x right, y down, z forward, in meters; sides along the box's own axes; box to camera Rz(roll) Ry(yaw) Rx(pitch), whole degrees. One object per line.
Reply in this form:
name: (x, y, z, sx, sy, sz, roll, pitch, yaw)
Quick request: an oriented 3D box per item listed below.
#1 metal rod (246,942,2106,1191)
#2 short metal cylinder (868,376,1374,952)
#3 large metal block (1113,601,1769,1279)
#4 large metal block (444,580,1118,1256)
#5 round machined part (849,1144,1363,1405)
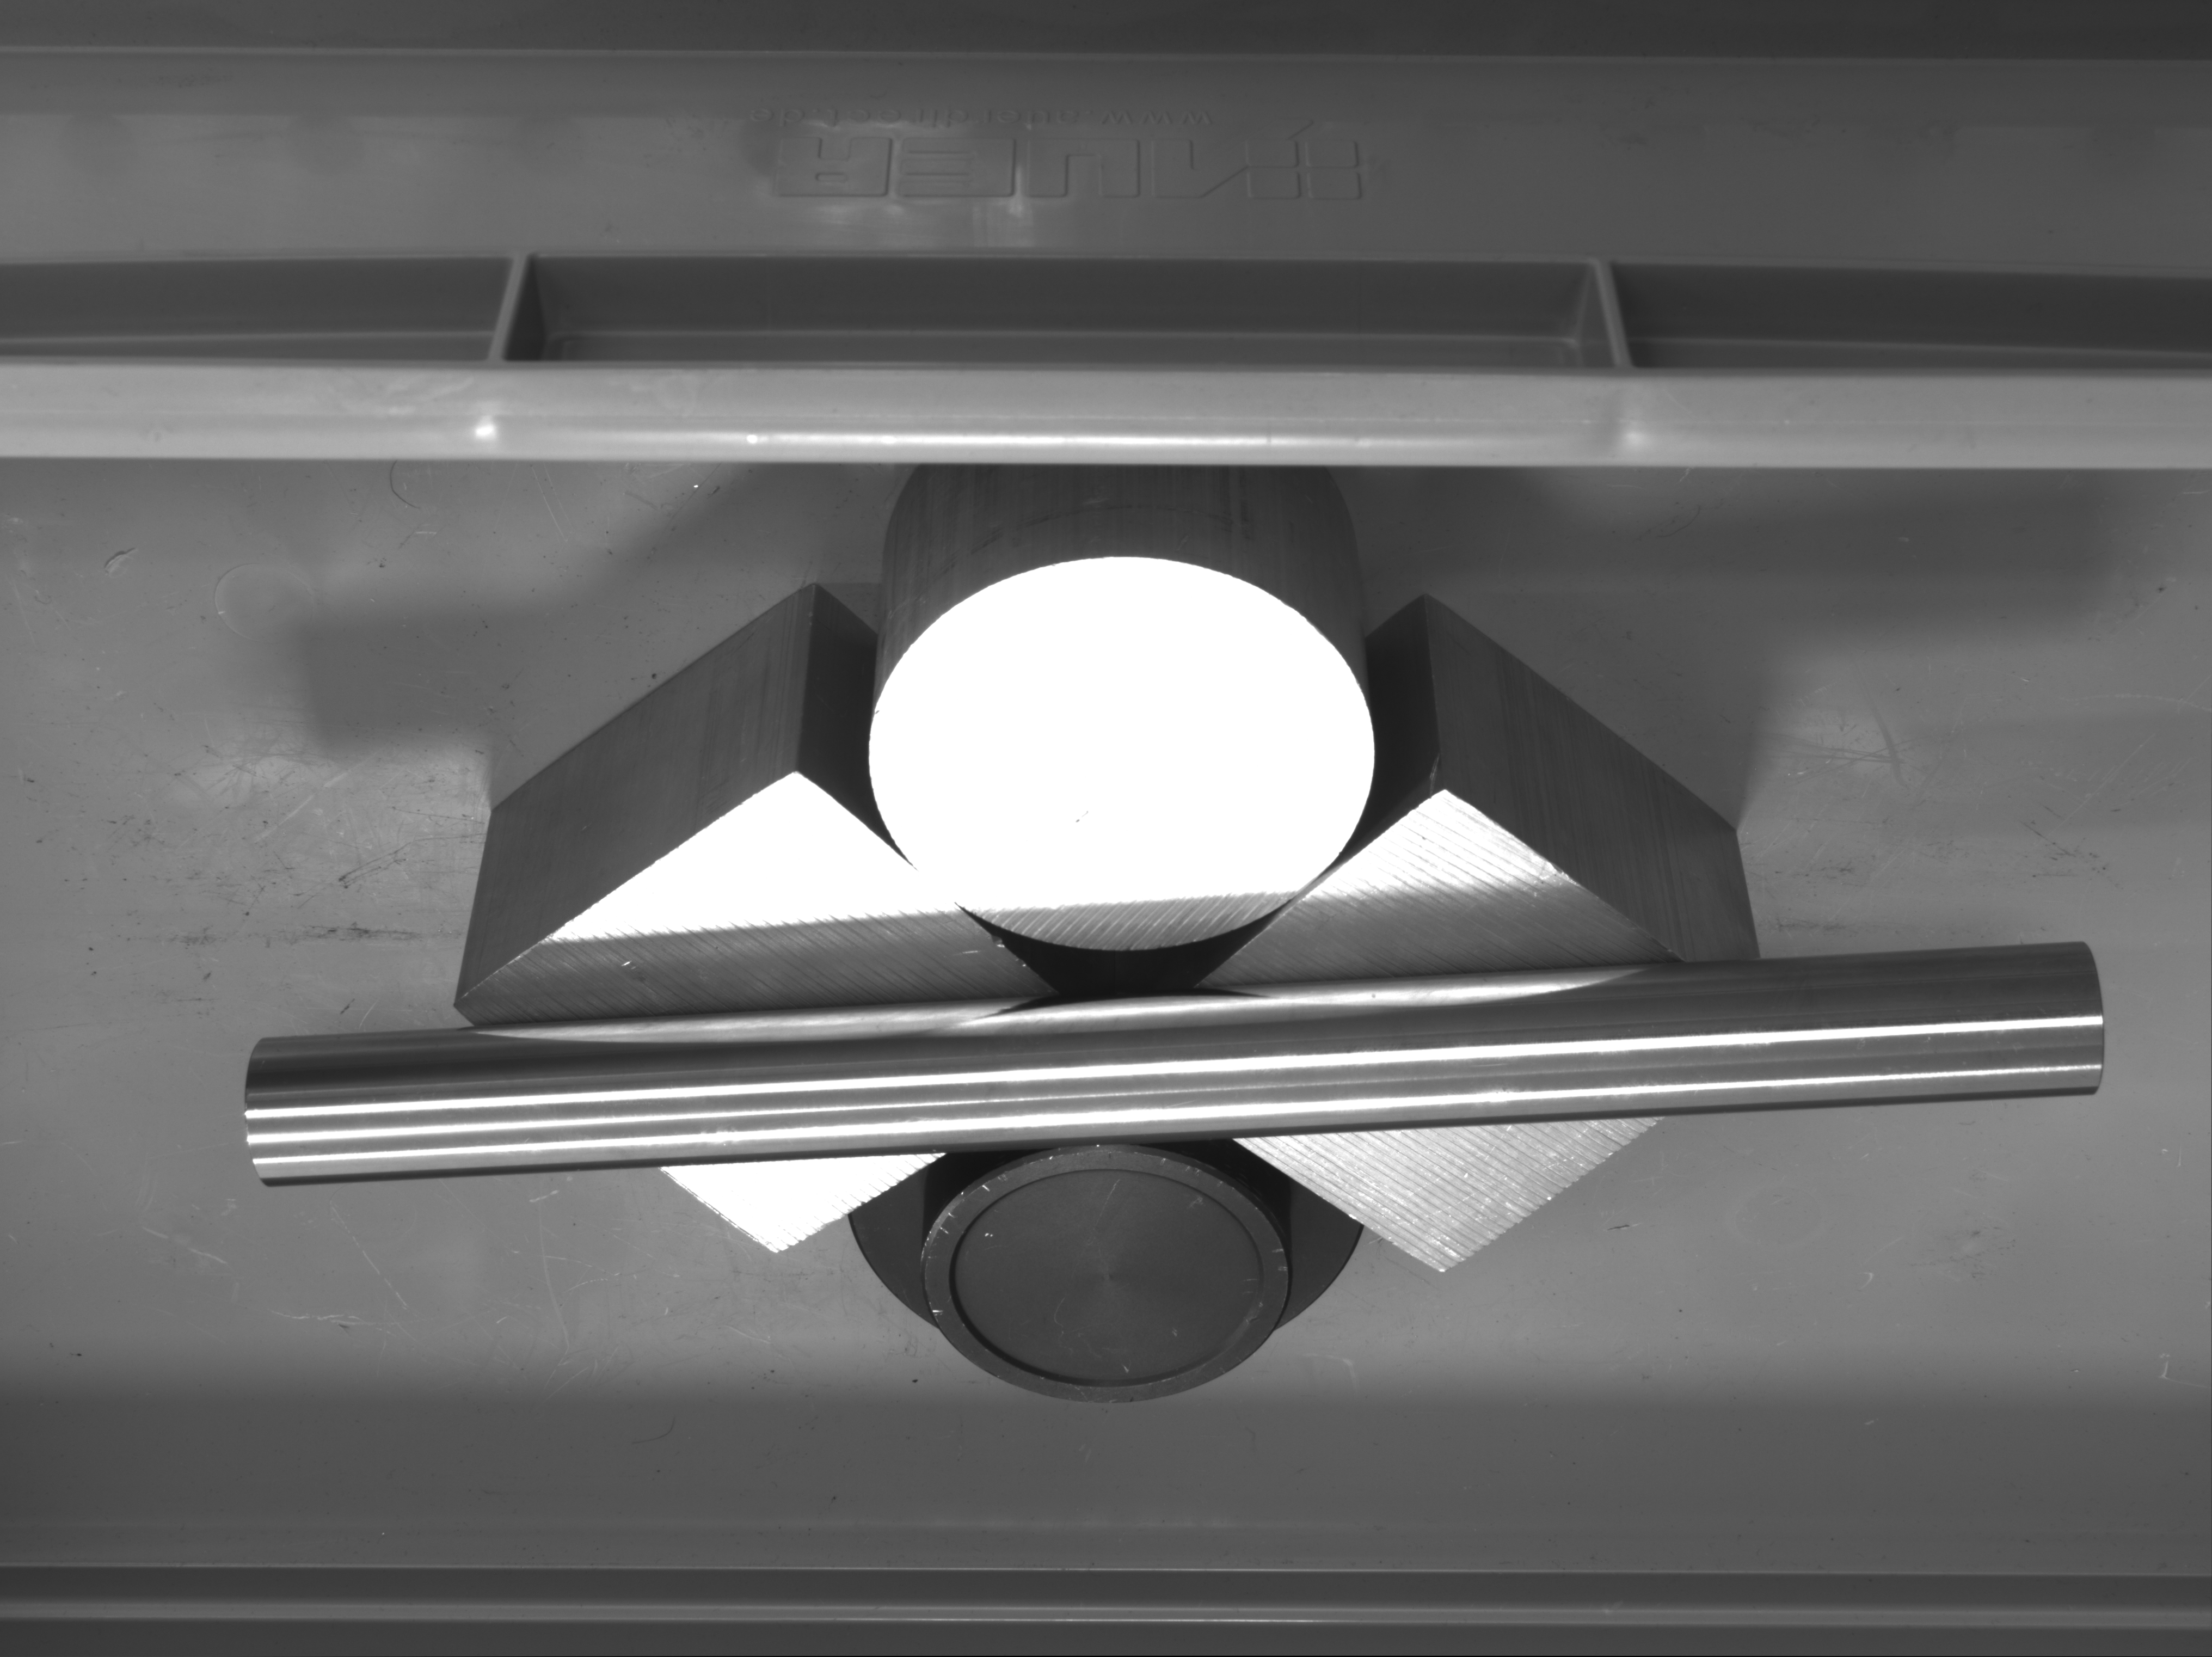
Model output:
metal rod: (0.010, 0.039, 0.603, 0.300, 0.025, 0.025, -3, 130, 3)
short metal cylinder: (0.002, -0.026, 0.599, 0.080, 0.050, 0.080, 0, 130, 0)
large metal block: (0.058, 0.021, 0.636, 0.080, 0.050, 0.080, 35, 123, -25)
large metal block: (-0.054, 0.017, 0.636, 0.080, 0.050, 0.080, -33, 124, 24)
round machined part: (0.000, 0.070, 0.685, 0.098, 0.042, 0.098, 0, 130, 0)
